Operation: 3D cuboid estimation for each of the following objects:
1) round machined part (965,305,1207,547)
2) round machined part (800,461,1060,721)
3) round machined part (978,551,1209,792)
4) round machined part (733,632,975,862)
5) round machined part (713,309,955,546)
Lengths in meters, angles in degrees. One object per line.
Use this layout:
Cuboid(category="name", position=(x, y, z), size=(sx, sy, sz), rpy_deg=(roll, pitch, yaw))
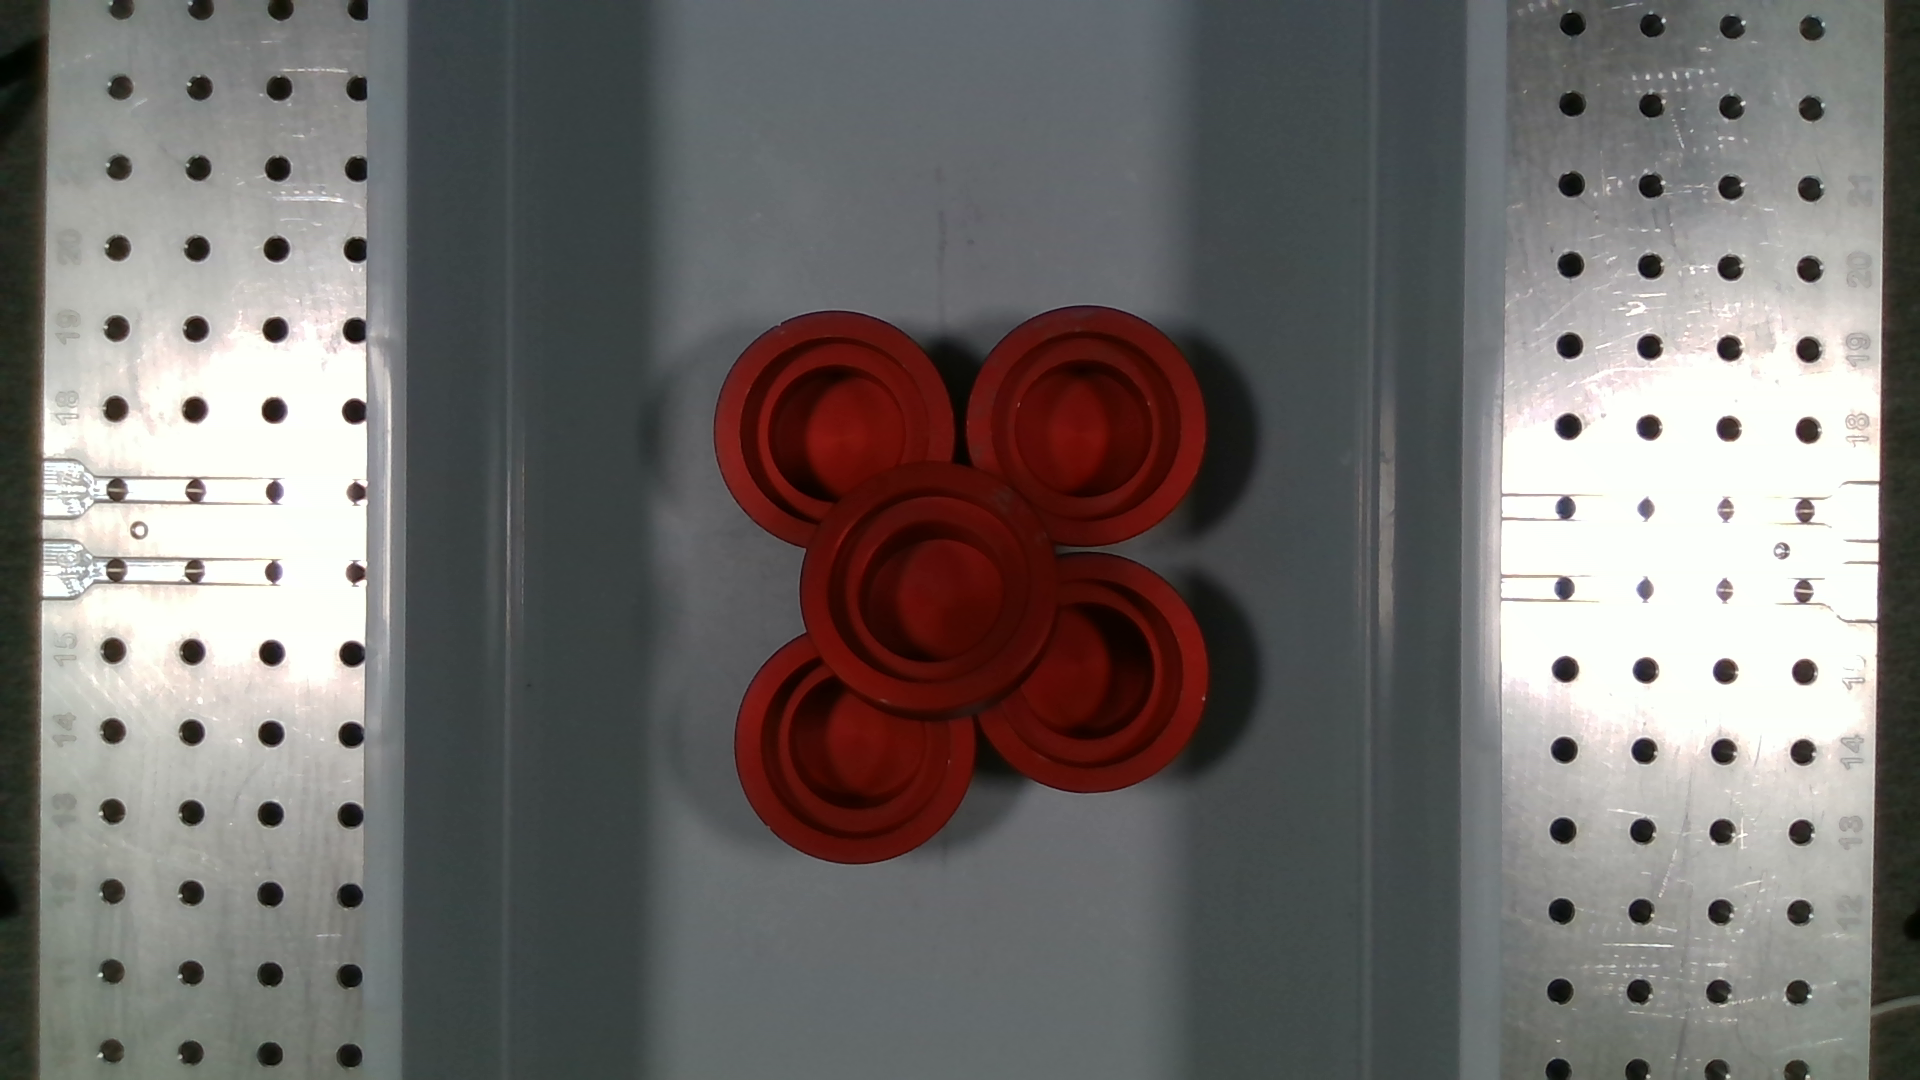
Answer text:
Cuboid(category="round machined part", position=(0.051, -0.046, 0.577), size=(0.098, 0.042, 0.098), rpy_deg=(0, 90, 0))
Cuboid(category="round machined part", position=(-0.010, 0.022, 0.535), size=(0.098, 0.042, 0.098), rpy_deg=(-1, 72, 4))
Cuboid(category="round machined part", position=(0.052, 0.053, 0.578), size=(0.098, 0.042, 0.098), rpy_deg=(0, 90, 0))
Cuboid(category="round machined part", position=(-0.043, 0.082, 0.578), size=(0.098, 0.042, 0.098), rpy_deg=(0, 90, 0))
Cuboid(category="round machined part", position=(-0.051, -0.044, 0.577), size=(0.098, 0.042, 0.098), rpy_deg=(0, 90, 0))
